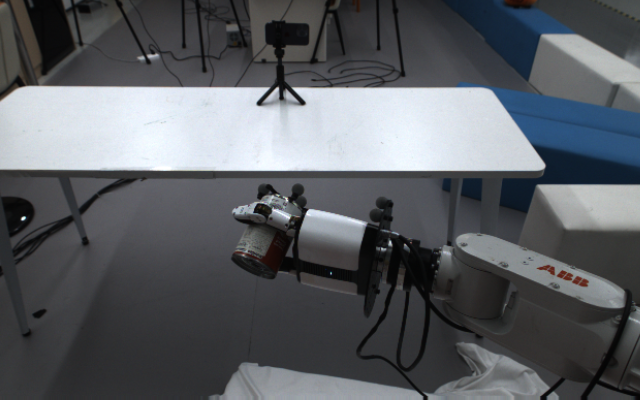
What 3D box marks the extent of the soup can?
[{"bbox_3d":[-0.071,0.051,0.675,0.067,0.067,0.101,15,63,18],"label":"soup can"}]
